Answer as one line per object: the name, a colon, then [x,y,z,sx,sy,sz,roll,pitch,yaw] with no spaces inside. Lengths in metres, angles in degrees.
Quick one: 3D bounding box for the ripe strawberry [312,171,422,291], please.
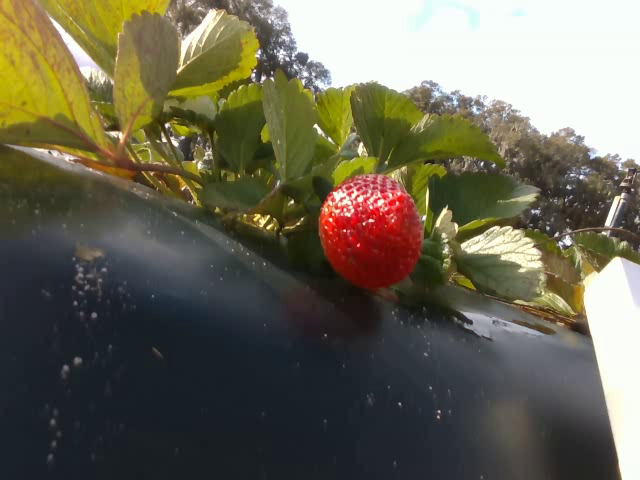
ripe strawberry: [0.020,-0.005,0.181,0.041,0.041,0.047,-8,-5,-19]
